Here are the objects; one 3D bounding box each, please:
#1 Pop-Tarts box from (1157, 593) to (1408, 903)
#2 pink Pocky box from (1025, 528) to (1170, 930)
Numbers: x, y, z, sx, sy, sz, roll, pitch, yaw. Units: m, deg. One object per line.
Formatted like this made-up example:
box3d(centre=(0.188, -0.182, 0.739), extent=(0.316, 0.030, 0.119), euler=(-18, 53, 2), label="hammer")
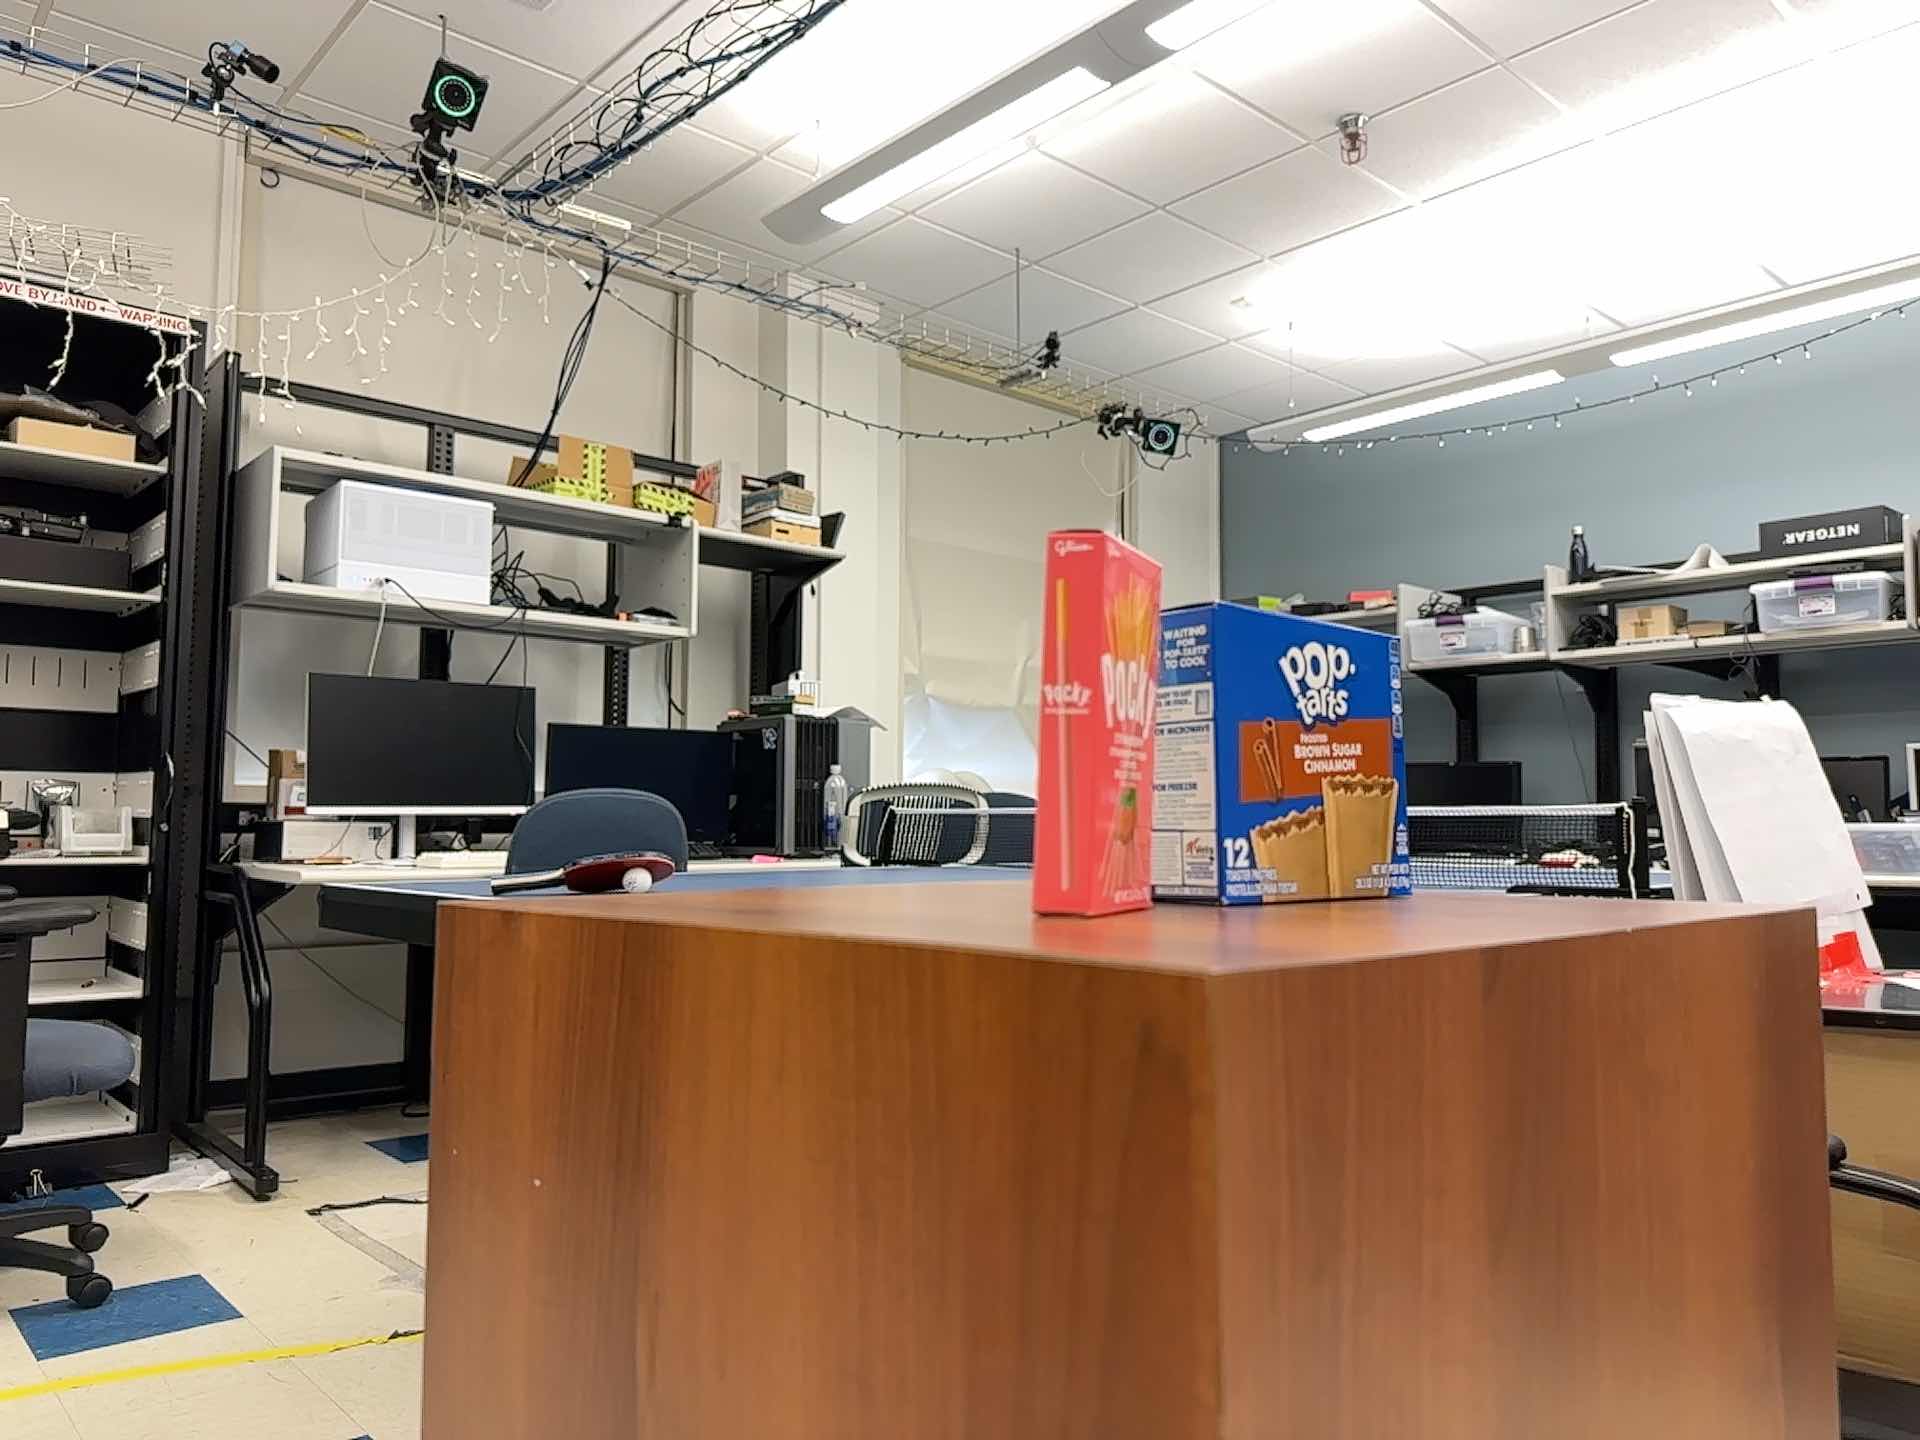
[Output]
box3d(centre=(0.150, 0.021, 0.688), extent=(0.161, 0.135, 0.075), euler=(8, -9, -43), label="Pop-Tarts box")
box3d(centre=(0.058, 0.005, 0.552), extent=(0.029, 0.155, 0.084), euler=(1, -5, 26), label="pink Pocky box")
